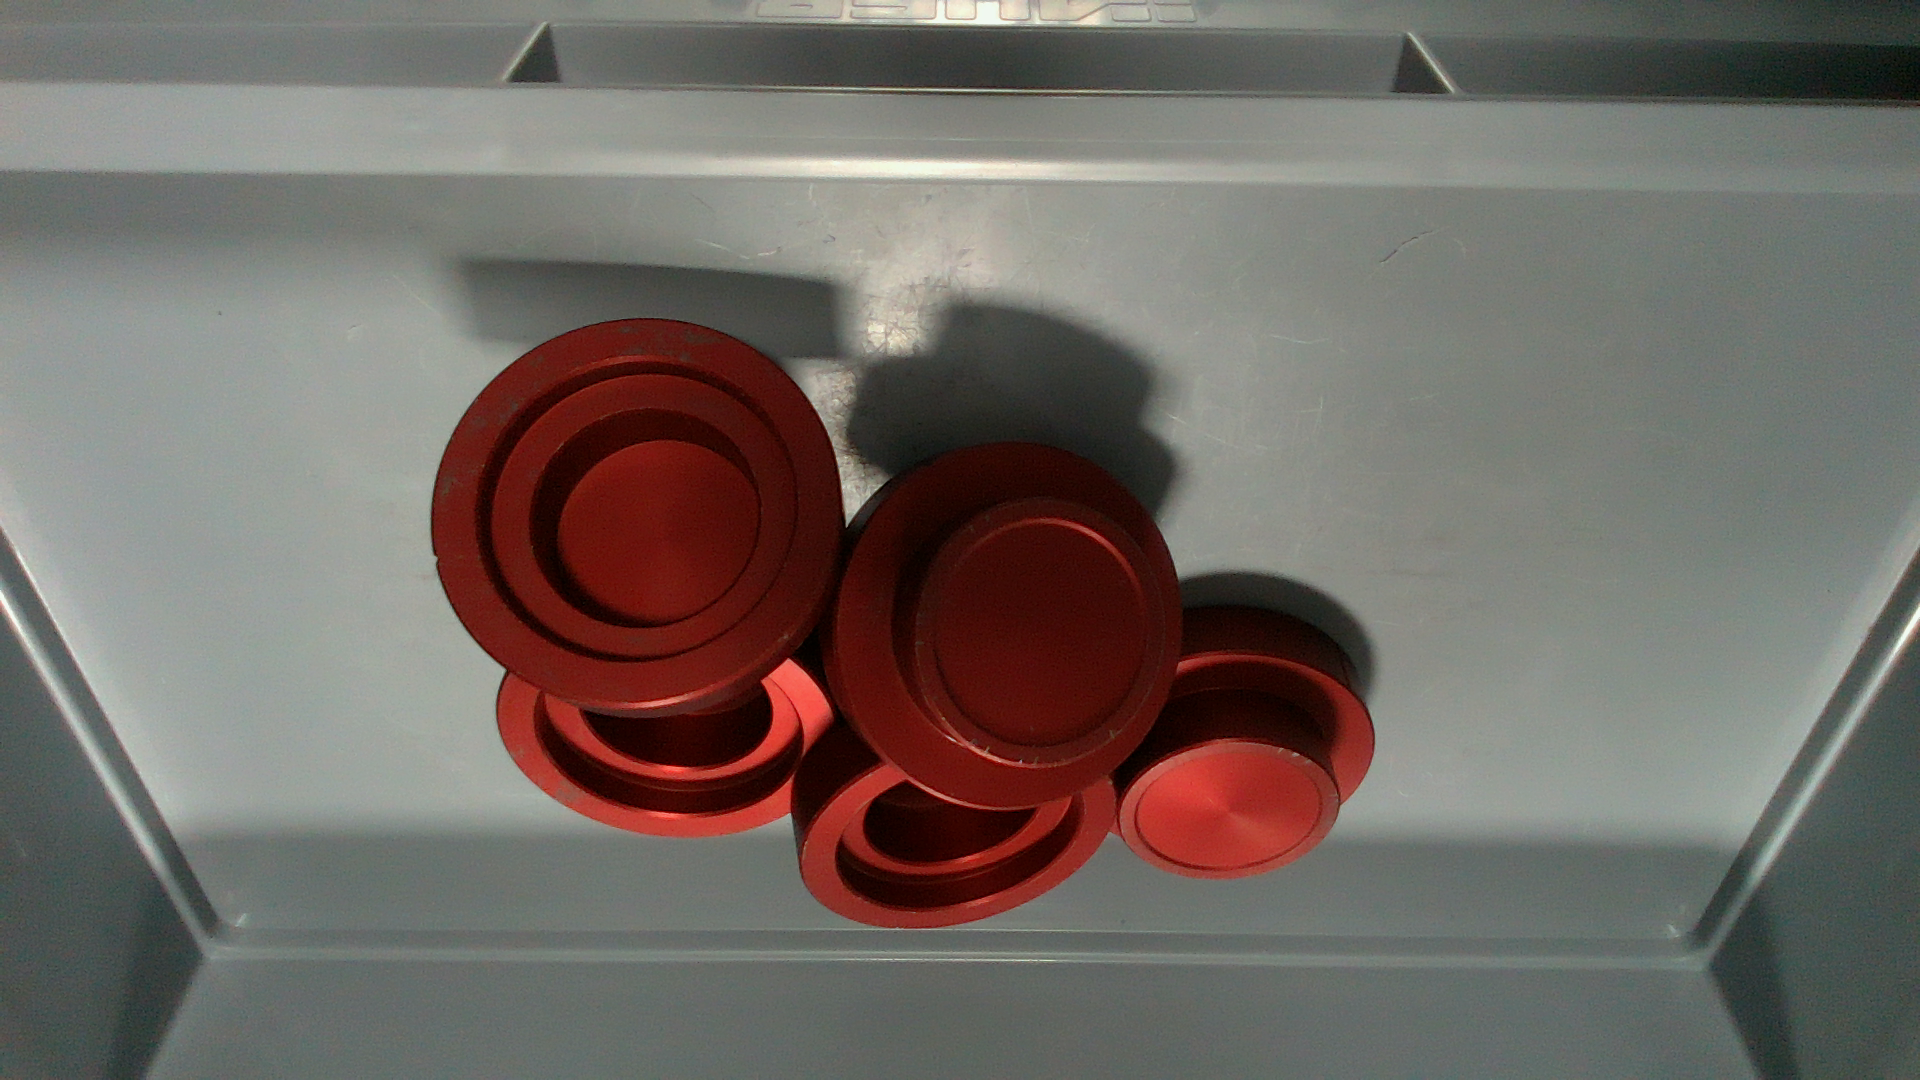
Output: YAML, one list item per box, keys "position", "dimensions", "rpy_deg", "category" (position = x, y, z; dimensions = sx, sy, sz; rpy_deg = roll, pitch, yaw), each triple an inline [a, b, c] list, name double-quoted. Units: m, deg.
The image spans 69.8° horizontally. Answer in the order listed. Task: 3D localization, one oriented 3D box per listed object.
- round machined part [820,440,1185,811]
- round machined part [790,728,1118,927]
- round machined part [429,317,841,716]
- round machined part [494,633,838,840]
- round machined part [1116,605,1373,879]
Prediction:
- position: [0.015, 0.023, 0.361]
  dimensions: [0.098, 0.042, 0.098]
  rpy_deg: [0, 91, -17]
  category: "round machined part"
- position: [-0.004, 0.076, 0.426]
  dimensions: [0.098, 0.042, 0.098]
  rpy_deg: [-10, 137, -9]
  category: "round machined part"
- position: [-0.079, -0.003, 0.351]
  dimensions: [0.098, 0.098, 0.042]
  rpy_deg: [2, 166, -2]
  category: "round machined part"
- position: [-0.084, 0.043, 0.413]
  dimensions: [0.098, 0.042, 0.098]
  rpy_deg: [0, 130, 0]
  category: "round machined part"
- position: [0.082, 0.070, 0.437]
  dimensions: [0.098, 0.042, 0.098]
  rpy_deg: [0, 130, 0]
  category: "round machined part"
